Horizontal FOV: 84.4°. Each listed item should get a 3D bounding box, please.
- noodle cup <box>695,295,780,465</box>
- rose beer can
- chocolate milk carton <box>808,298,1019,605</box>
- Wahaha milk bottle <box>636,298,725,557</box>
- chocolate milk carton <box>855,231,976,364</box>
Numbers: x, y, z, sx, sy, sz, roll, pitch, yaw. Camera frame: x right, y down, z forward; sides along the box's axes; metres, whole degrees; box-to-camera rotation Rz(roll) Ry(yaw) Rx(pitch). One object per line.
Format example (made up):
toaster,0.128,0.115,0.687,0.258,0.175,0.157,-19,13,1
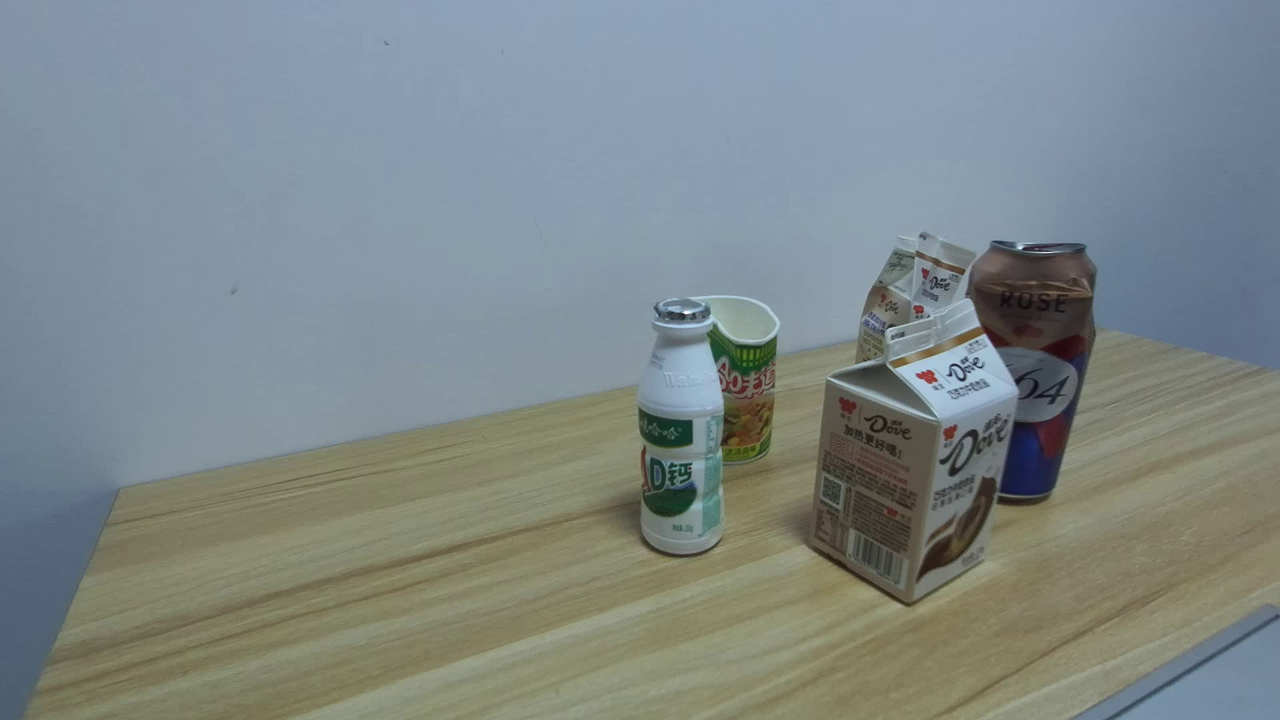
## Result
noodle cup,0.064,0.016,0.528,0.070,0.111,0.115,0,20,7
rose beer can,0.249,0.007,0.464,0.075,0.167,0.065,11,21,39
chocolate milk carton,0.150,0.043,0.388,0.076,0.148,0.073,-14,25,-33
Wahaha milk bottle,0.026,0.039,0.410,0.056,0.147,0.056,-1,18,1
chocolate milk carton,0.236,-0.035,0.596,0.076,0.155,0.073,-7,23,-15
